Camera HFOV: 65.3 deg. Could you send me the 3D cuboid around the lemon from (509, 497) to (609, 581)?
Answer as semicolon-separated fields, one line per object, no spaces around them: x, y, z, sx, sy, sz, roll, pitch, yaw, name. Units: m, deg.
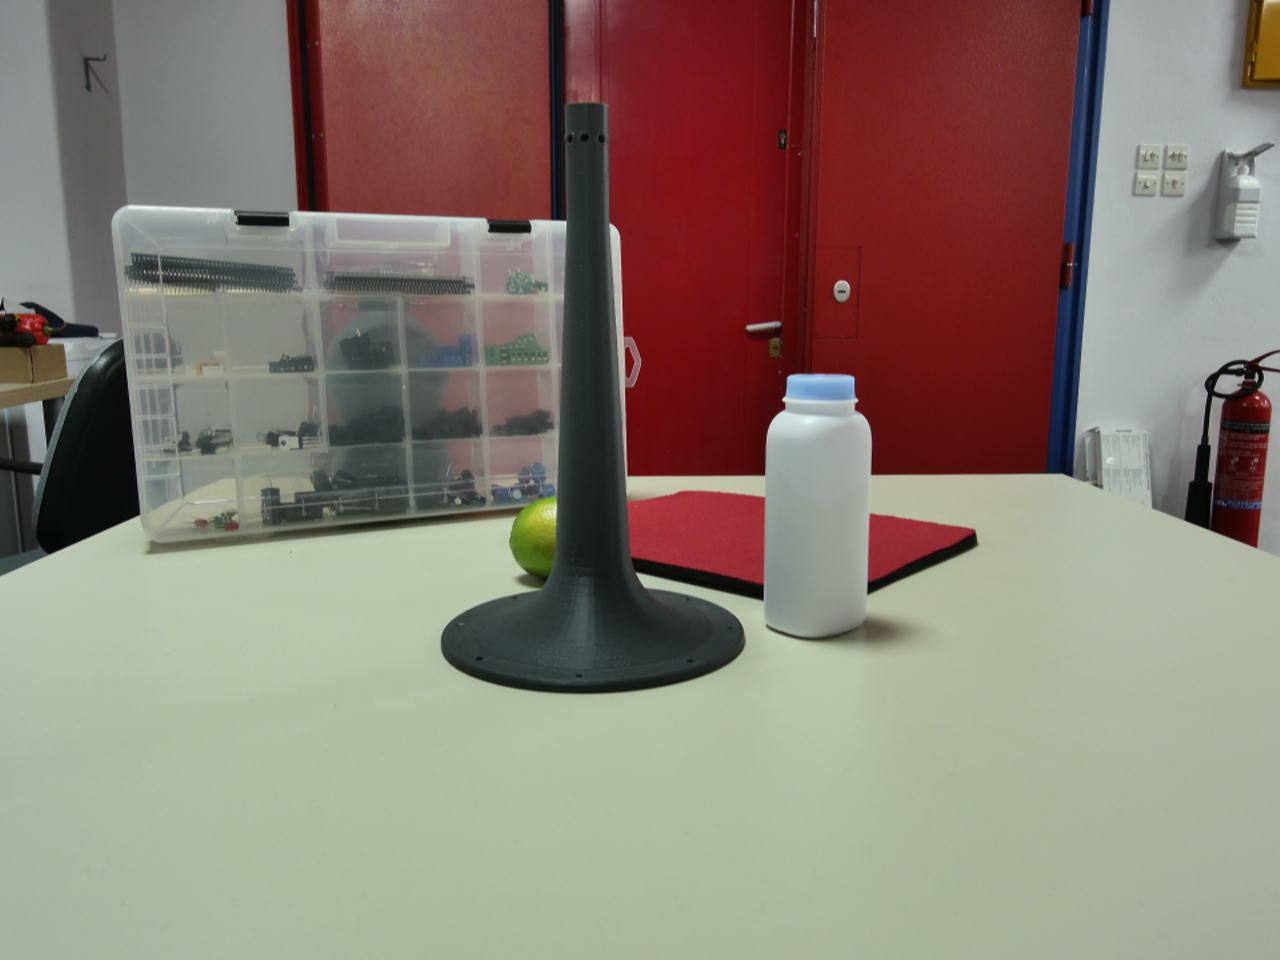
-0.050;0.035;0.609;0.054;0.050;0.055;-8;10;-40;lemon
